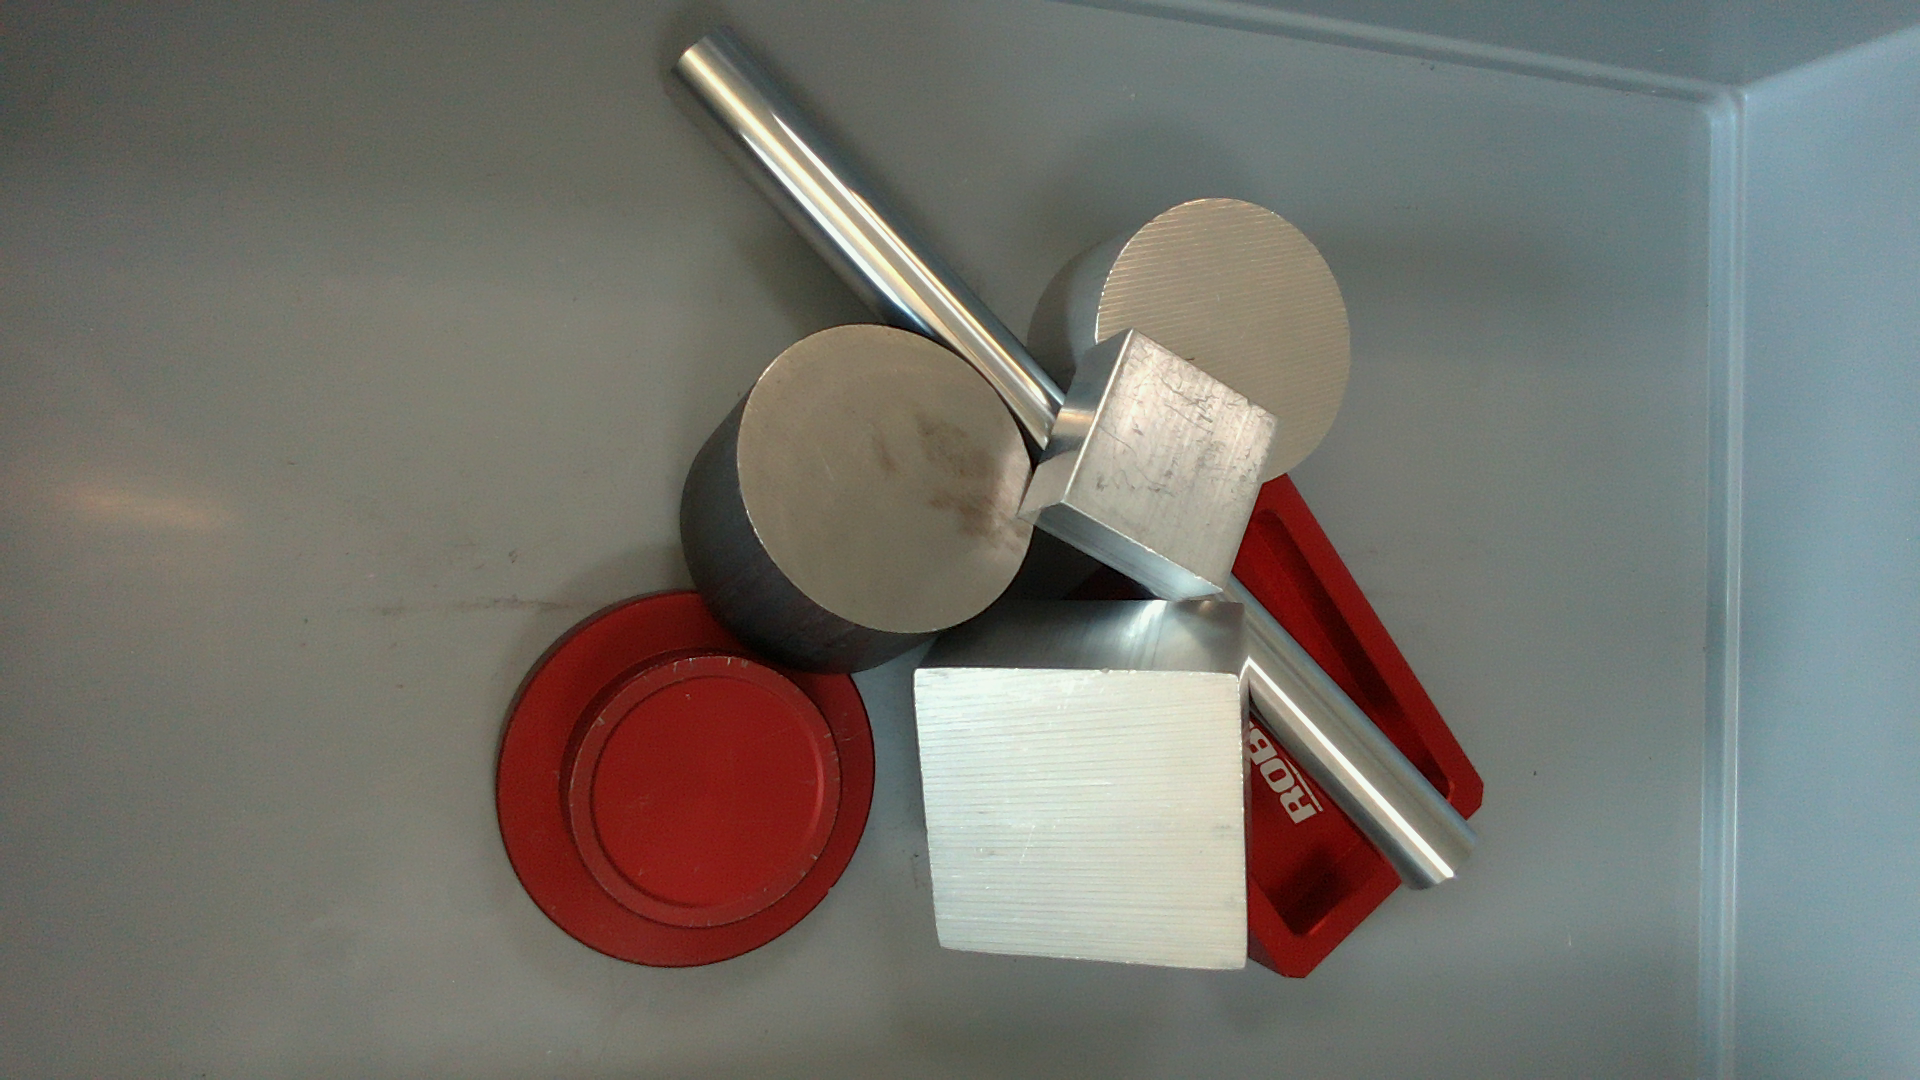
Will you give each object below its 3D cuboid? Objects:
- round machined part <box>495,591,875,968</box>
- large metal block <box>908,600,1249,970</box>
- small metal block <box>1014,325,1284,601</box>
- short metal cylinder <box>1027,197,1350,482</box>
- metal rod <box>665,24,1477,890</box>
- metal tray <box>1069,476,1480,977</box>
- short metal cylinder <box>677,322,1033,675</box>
[{"bbox_3d":[-0.069,0.062,0.357,0.098,0.042,0.098,0,90,-20],"label":"round machined part"},{"bbox_3d":[0.035,0.062,0.364,0.080,0.050,0.080,-1,107,13],"label":"large metal block"},{"bbox_3d":[0.049,-0.019,0.354,0.050,0.025,0.050,28,73,-17],"label":"small metal block"},{"bbox_3d":[0.066,-0.054,0.403,0.080,0.050,0.080,0,90,-20],"label":"short metal cylinder"},{"bbox_3d":[0.033,-0.019,0.378,0.025,0.025,0.300,-44,95,-14],"label":"metal rod"},{"bbox_3d":[0.092,0.055,0.423,0.090,0.030,0.130,-38,102,-16],"label":"metal tray"},{"bbox_3d":[-0.027,-0.009,0.357,0.080,0.050,0.080,9,70,-25],"label":"short metal cylinder"}]
